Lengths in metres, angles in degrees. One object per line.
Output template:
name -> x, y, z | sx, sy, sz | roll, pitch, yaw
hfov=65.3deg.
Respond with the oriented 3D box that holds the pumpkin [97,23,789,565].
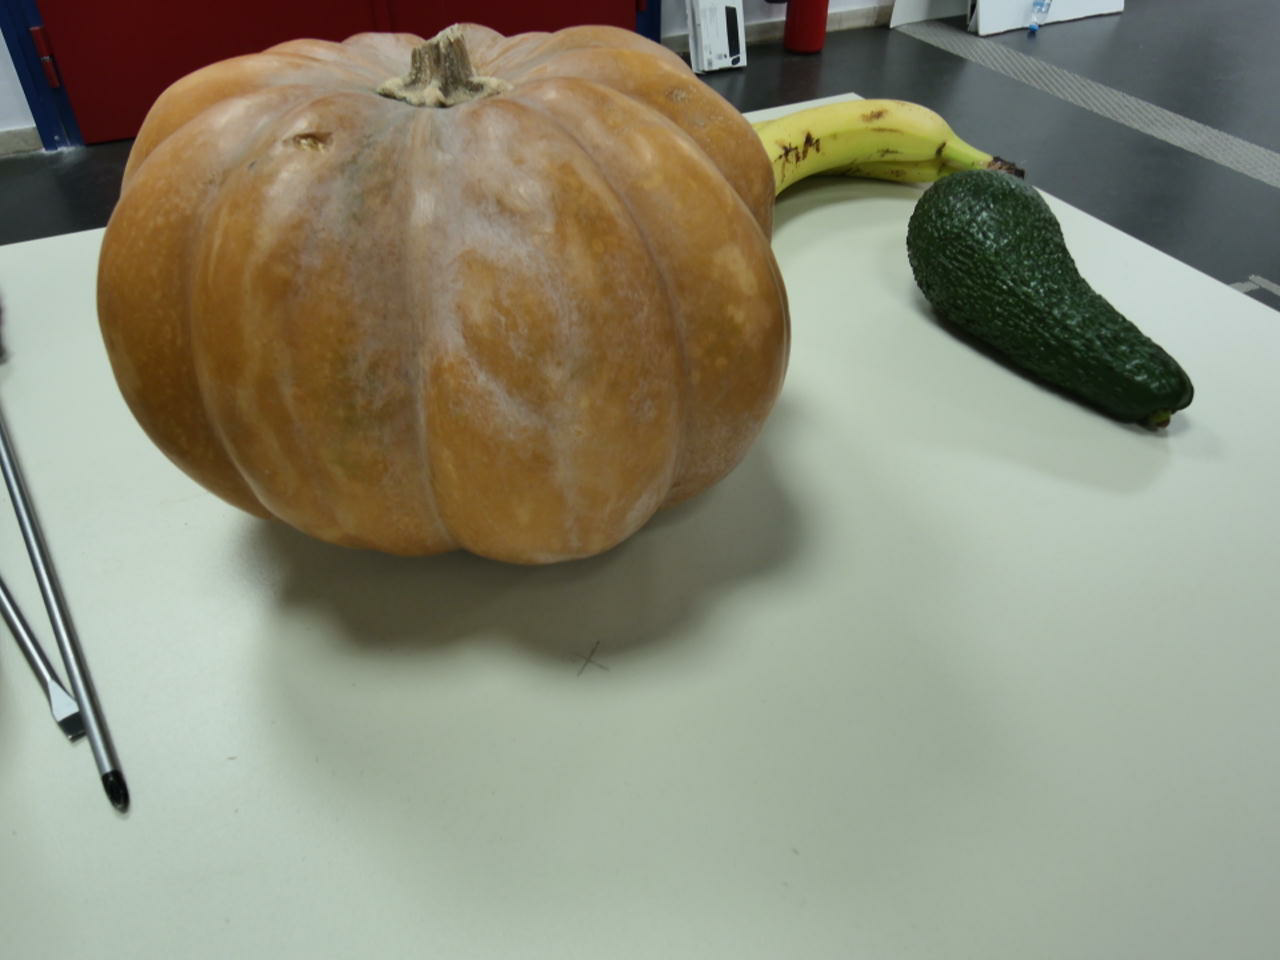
pumpkin -> -0.069, -0.081, 0.398 | 0.277, 0.181, 0.277 | 0, 38, 0
